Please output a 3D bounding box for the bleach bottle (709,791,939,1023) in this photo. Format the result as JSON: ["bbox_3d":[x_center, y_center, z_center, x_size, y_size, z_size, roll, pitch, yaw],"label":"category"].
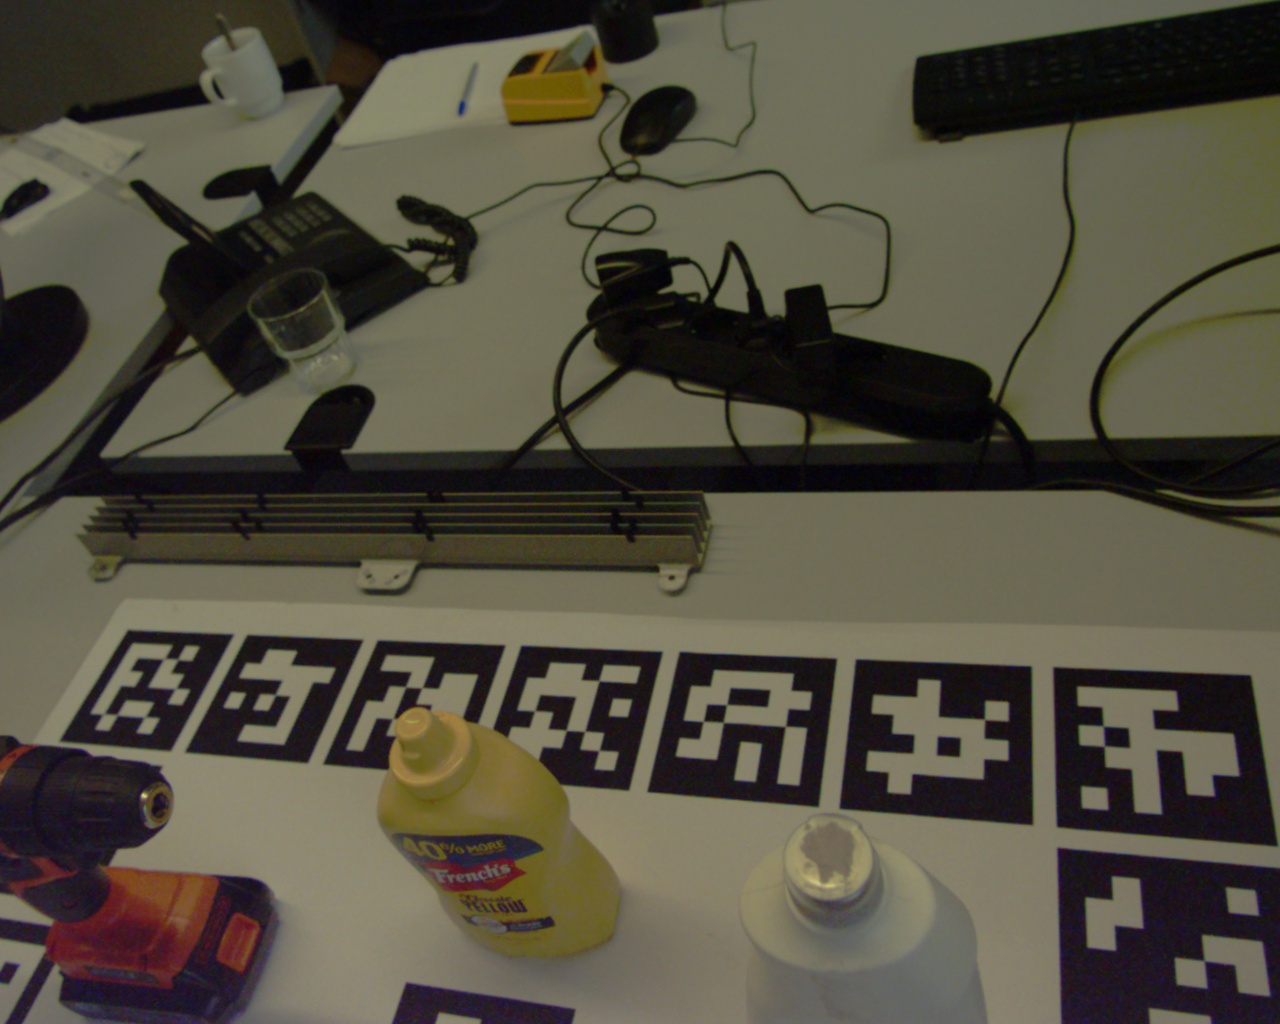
[{"bbox_3d":[0.071,0.190,0.481,0.104,0.248,0.068,7,51,24],"label":"bleach bottle"}]

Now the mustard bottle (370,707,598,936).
[{"bbox_3d":[-0.089,0.162,0.609,0.097,0.190,0.058,-5,47,12],"label":"mustard bottle"}]

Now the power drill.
[{"bbox_3d":[-0.286,0.177,0.622,0.186,0.185,0.057,-7,46,19],"label":"power drill"}]
